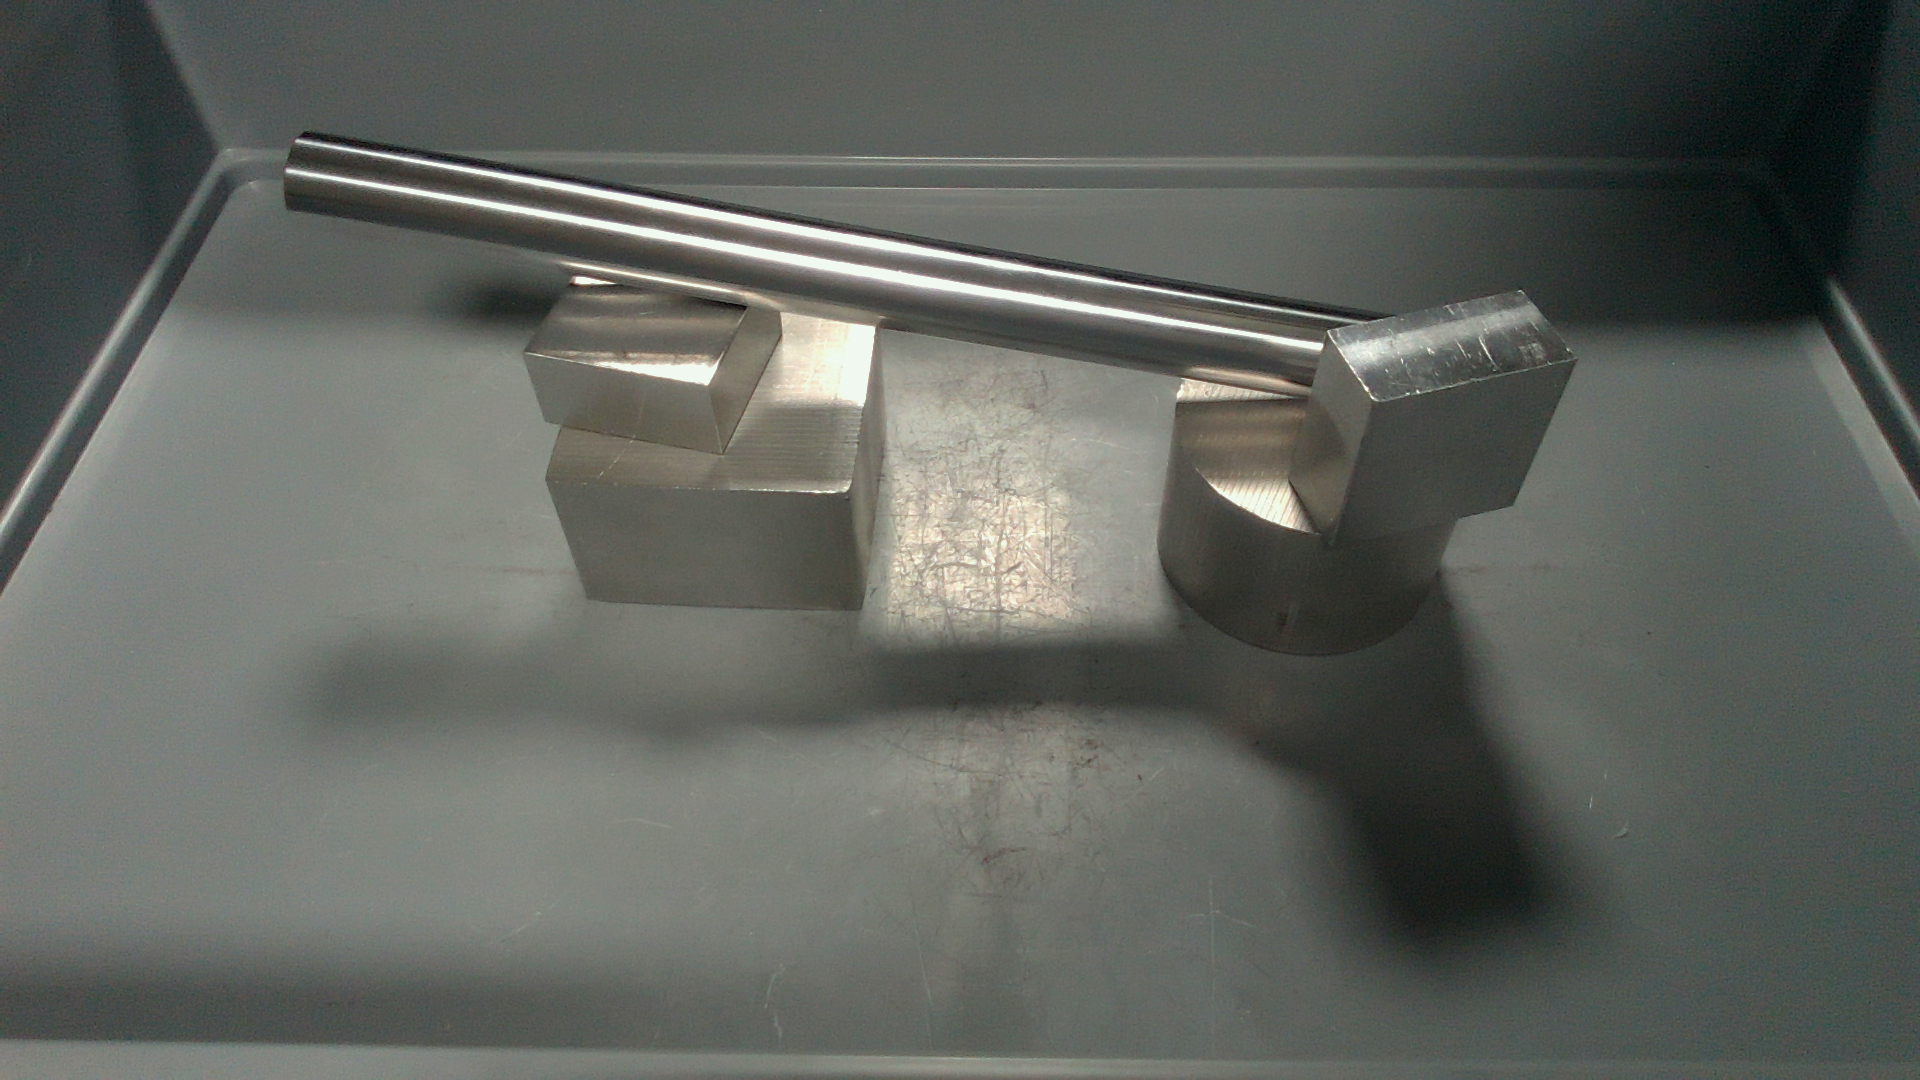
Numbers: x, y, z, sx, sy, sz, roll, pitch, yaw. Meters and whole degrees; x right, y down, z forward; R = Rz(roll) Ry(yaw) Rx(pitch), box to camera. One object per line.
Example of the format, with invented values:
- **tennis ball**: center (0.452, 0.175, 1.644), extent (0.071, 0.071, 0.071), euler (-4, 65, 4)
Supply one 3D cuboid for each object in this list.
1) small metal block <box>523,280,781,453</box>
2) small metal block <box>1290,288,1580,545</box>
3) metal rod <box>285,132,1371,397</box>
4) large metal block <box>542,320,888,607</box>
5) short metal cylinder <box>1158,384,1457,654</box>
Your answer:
- **small metal block**: center (-0.080, -0.054, 0.370), extent (0.050, 0.025, 0.050), euler (10, 50, 9)
- **small metal block**: center (0.112, -0.029, 0.331), extent (0.050, 0.050, 0.025), euler (-11, 51, -9)
- **metal rod**: center (-0.017, -0.067, 0.354), extent (0.300, 0.025, 0.025), euler (9, 50, -2)
- **large metal block**: center (-0.065, -0.029, 0.396), extent (0.080, 0.050, 0.080), euler (2, 50, 2)
- **short metal cylinder**: center (0.098, -0.015, 0.386), extent (0.080, 0.050, 0.080), euler (0, 50, 0)
